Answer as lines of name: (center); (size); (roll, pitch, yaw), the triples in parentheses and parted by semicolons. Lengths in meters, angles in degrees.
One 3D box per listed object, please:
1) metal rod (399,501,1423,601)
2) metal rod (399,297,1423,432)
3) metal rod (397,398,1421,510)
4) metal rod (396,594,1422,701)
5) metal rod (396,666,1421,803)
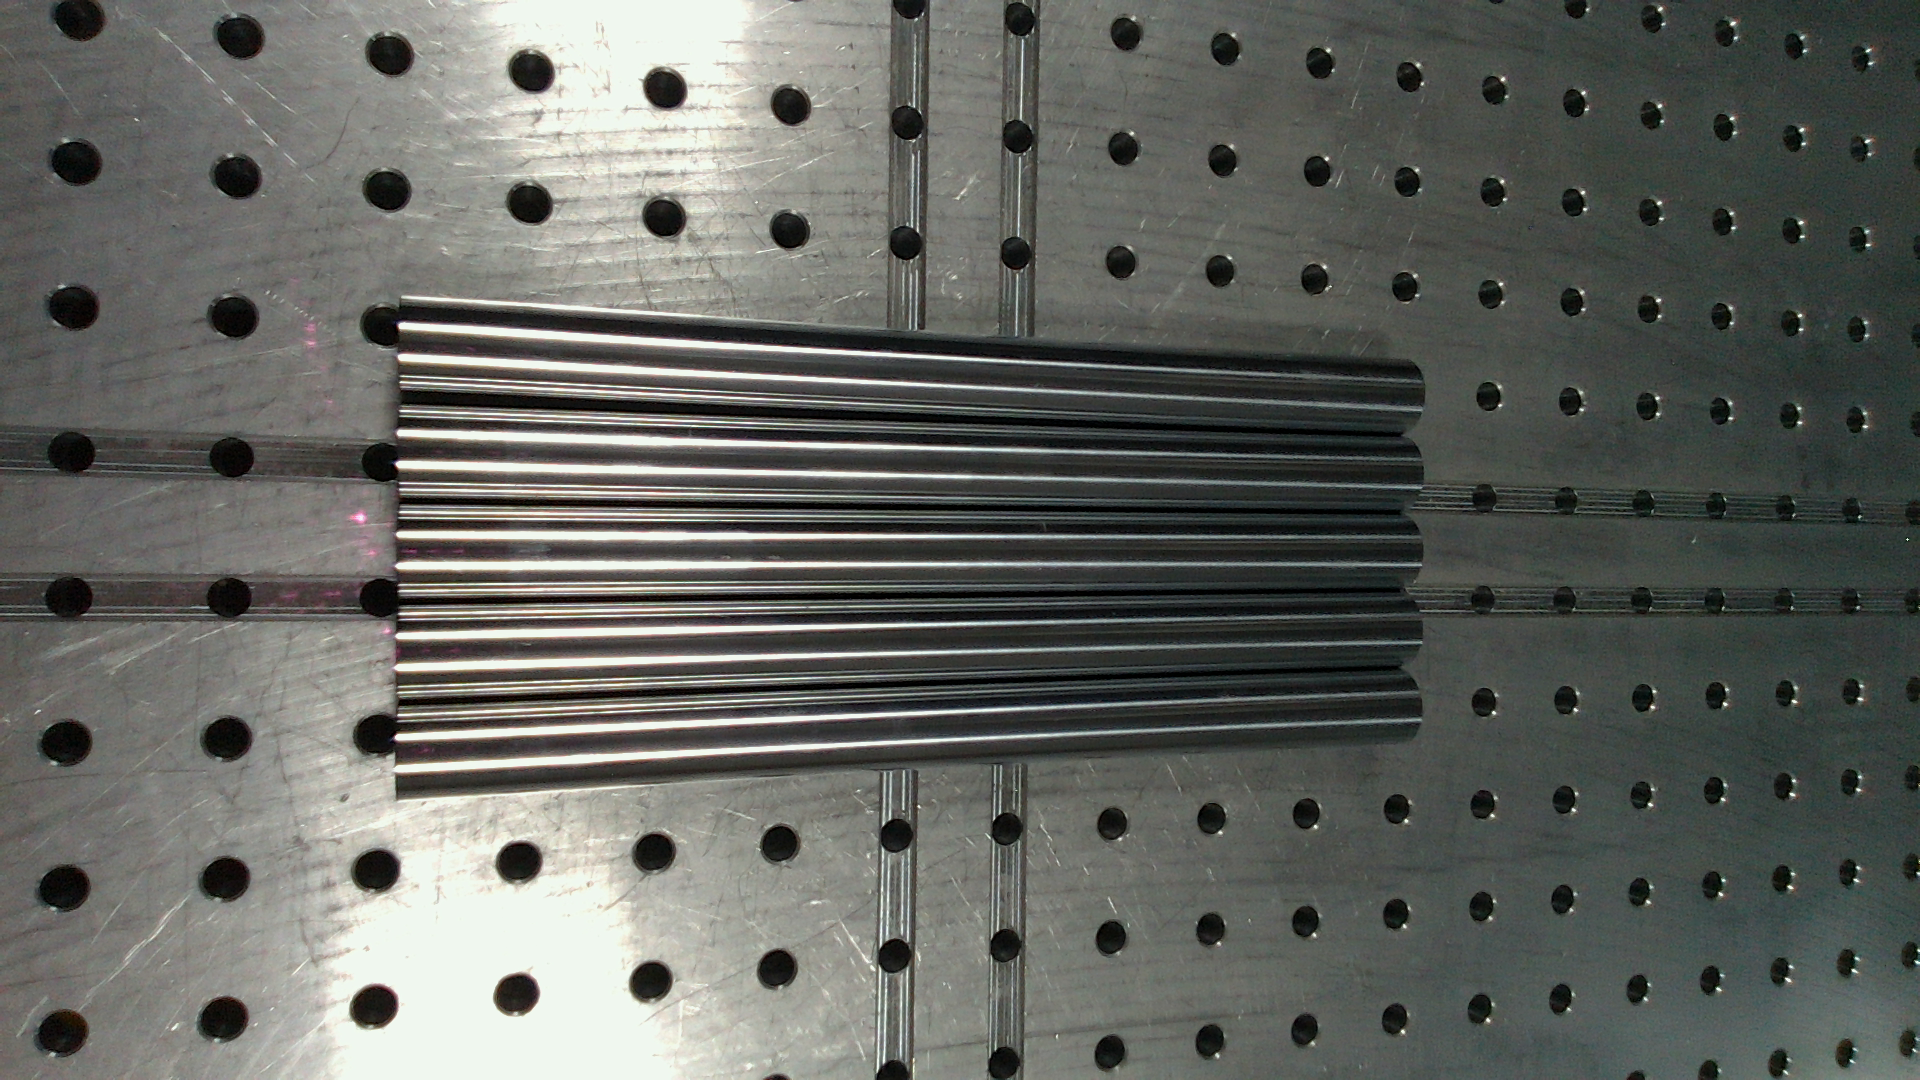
metal rod: (0.001, 0.004, 0.396); (0.301, 0.025, 0.025); (0, 90, -20)
metal rod: (0.001, -0.048, 0.396); (0.301, 0.025, 0.025); (0, 90, -20)
metal rod: (0.001, -0.022, 0.396); (0.301, 0.025, 0.025); (0, 90, -20)
metal rod: (0.001, 0.029, 0.396); (0.301, 0.025, 0.025); (0, 90, -20)
metal rod: (0.001, 0.053, 0.396); (0.301, 0.025, 0.025); (0, 90, -20)
